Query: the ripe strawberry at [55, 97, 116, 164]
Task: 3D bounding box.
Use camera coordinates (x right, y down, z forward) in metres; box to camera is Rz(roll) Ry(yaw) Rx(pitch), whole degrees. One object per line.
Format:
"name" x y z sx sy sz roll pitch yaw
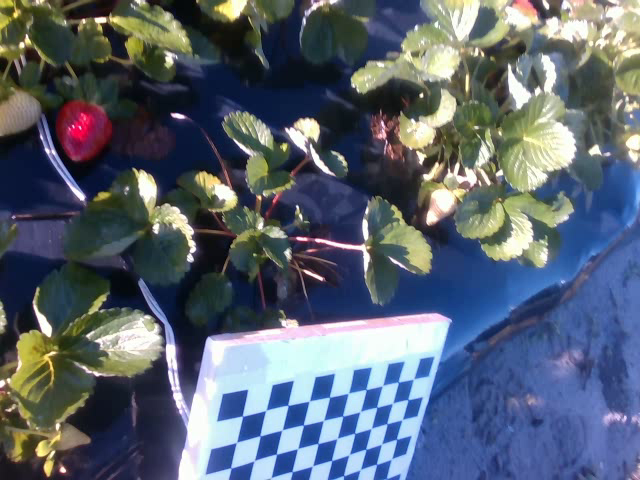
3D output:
"ripe strawberry" -0.213 -0.104 0.532 0.040 0.080 0.062 -22 -40 27
